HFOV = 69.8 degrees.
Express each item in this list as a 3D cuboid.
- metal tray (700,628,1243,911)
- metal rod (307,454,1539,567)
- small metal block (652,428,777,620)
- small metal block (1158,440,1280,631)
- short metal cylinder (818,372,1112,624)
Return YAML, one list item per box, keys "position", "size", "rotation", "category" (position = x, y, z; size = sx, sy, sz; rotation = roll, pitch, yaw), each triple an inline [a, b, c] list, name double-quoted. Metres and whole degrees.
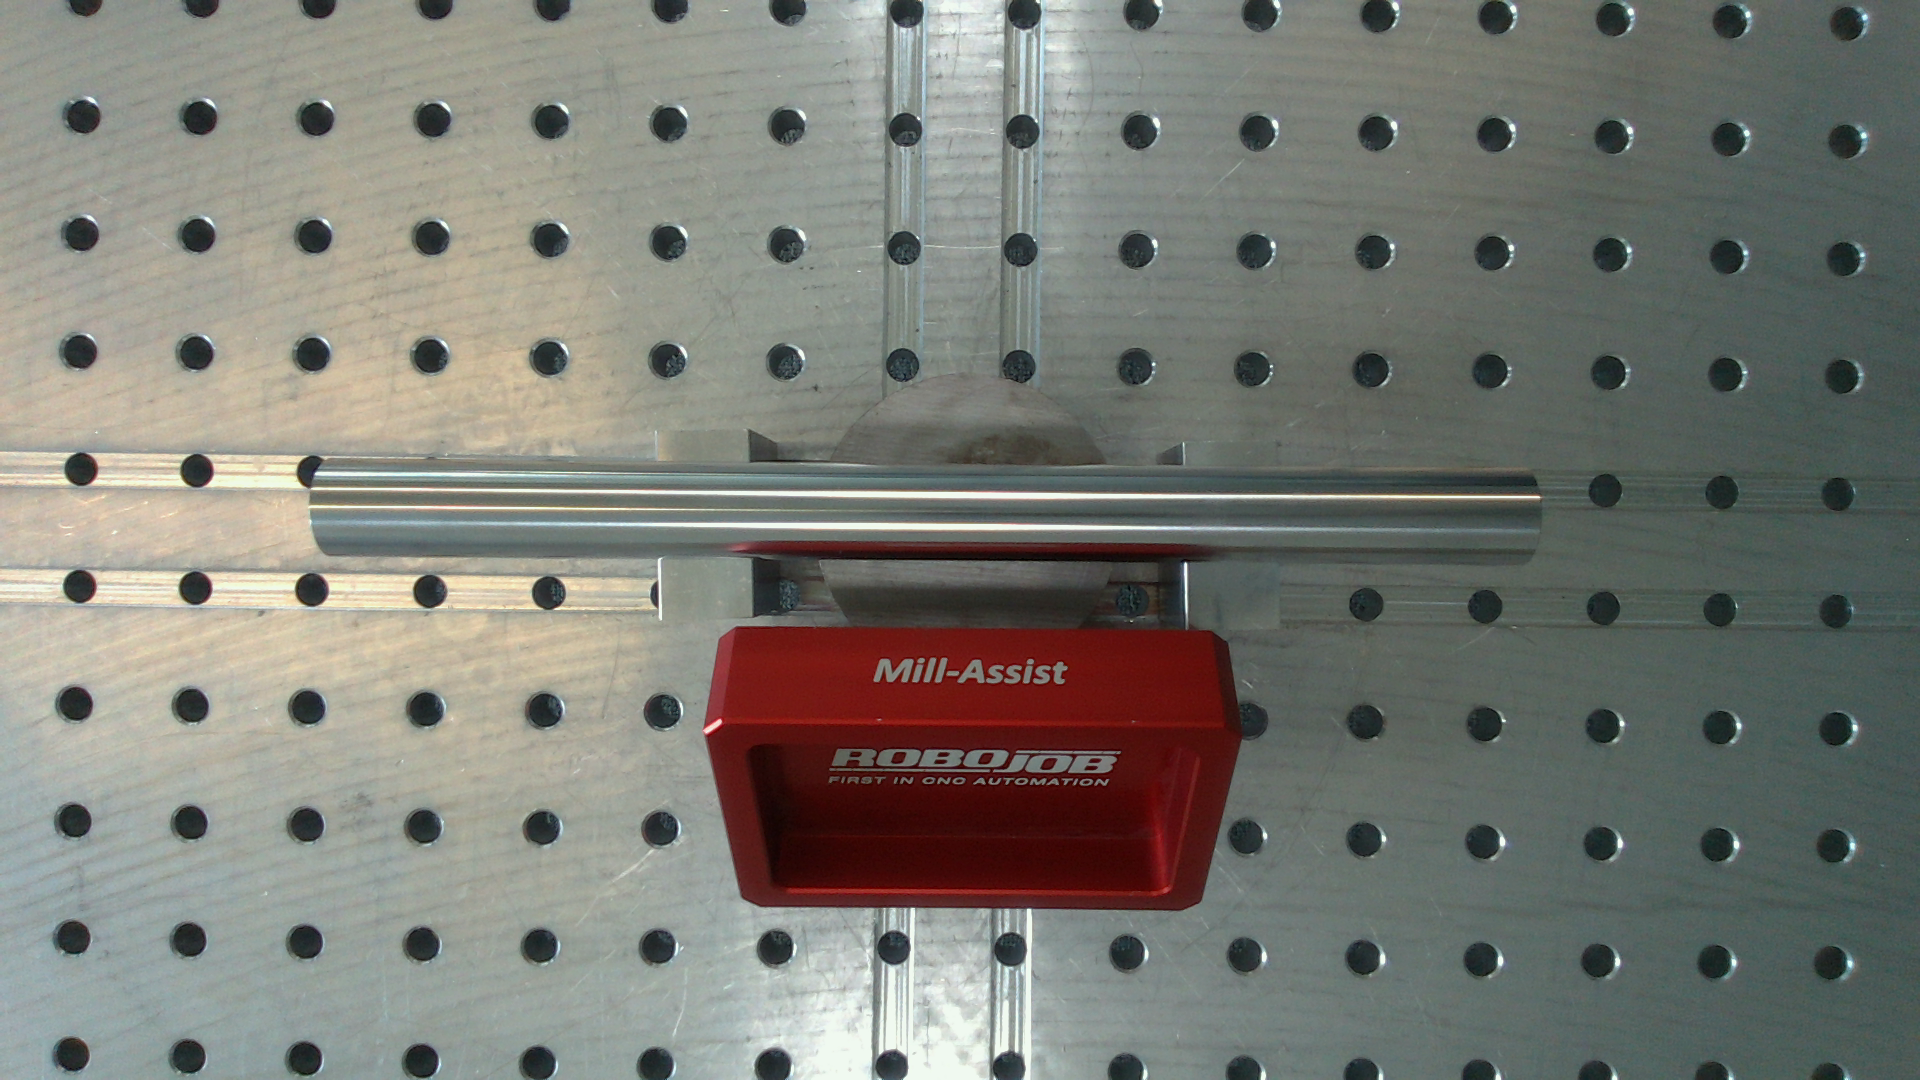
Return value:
- position: [0.003, 0.064, 0.368]
  size: [0.130, 0.090, 0.030]
  rotation: [0, 47, 0]
  category: "metal tray"
- position: [-0.009, -0.007, 0.347]
  size: [0.300, 0.025, 0.025]
  rotation: [1, 90, 0]
  category: "metal rod"
- position: [-0.068, -0.004, 0.385]
  size: [0.025, 0.050, 0.050]
  rotation: [-1, 90, 0]
  category: "small metal block"
- position: [0.071, -0.001, 0.386]
  size: [0.025, 0.050, 0.050]
  rotation: [-1, 90, 0]
  category: "small metal block"
- position: [0.002, -0.004, 0.385]
  size: [0.080, 0.050, 0.080]
  rotation: [0, 90, 0]
  category: "short metal cylinder"
